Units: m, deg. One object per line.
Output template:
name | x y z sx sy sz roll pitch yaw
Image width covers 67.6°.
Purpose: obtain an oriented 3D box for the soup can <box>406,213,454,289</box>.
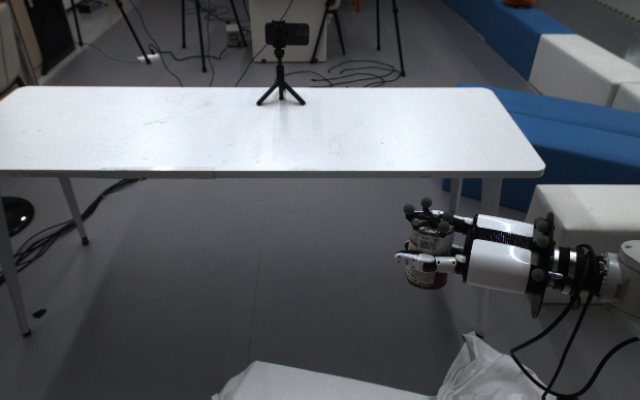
soup can | 0.175 0.081 0.765 0.067 0.101 0.067 1 25 0
